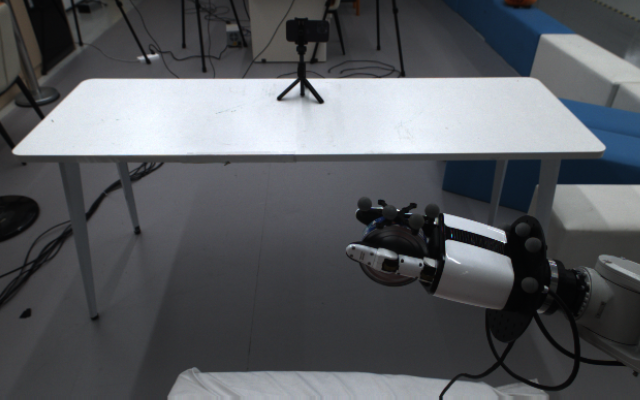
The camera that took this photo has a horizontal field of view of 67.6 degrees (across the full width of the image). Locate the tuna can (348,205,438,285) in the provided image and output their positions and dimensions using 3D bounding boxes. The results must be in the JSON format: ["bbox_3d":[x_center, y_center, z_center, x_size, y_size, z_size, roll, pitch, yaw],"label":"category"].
[{"bbox_3d":[0.092,0.062,0.599,0.085,0.085,0.034,7,21,7],"label":"tuna can"}]
